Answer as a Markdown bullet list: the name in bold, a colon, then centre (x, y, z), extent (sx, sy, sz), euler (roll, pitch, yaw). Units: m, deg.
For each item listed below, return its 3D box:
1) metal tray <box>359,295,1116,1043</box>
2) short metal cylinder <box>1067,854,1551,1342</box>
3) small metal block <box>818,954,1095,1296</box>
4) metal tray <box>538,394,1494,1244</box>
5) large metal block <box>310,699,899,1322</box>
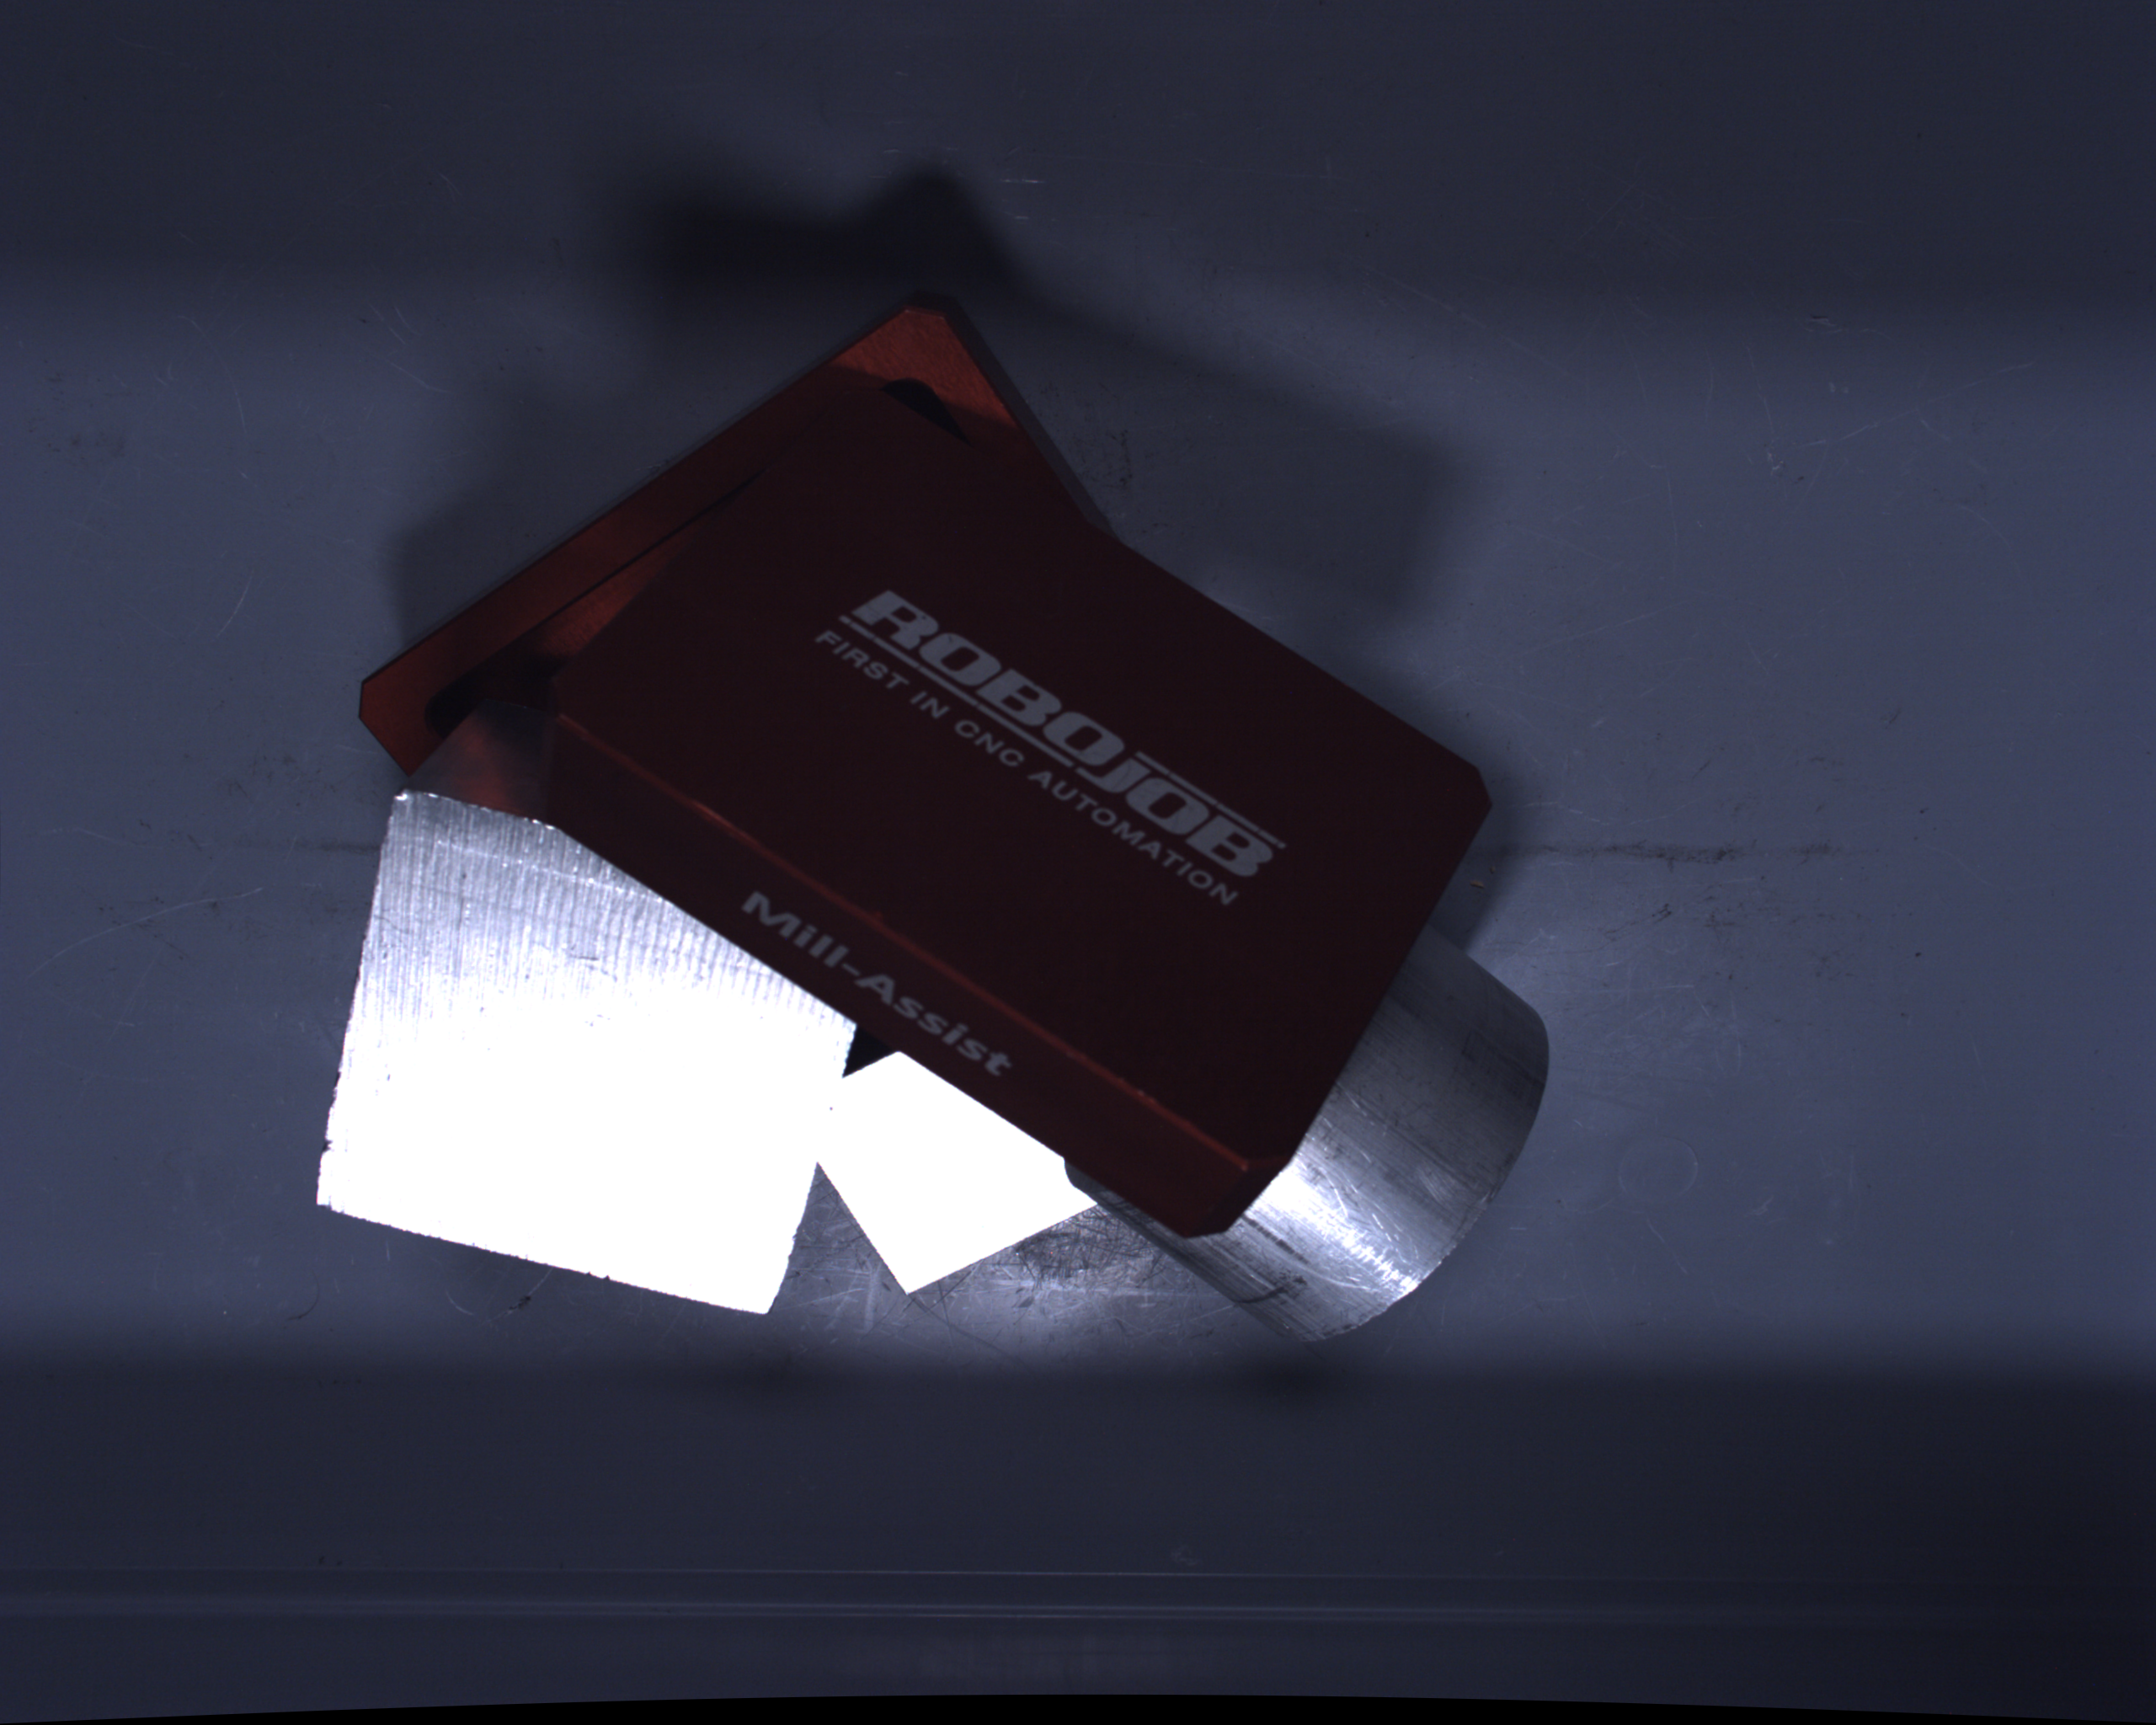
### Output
- **metal tray**: centre (-0.054, -0.034, 0.393), extent (0.130, 0.030, 0.090), euler (-32, 107, 10)
- **short metal cylinder**: centre (0.043, 0.043, 0.398), extent (0.050, 0.080, 0.080), euler (38, 106, -13)
- **small metal block**: centre (-0.025, 0.053, 0.429), extent (0.050, 0.025, 0.050), euler (-27, 108, 9)
- **metal tray**: centre (-0.008, -0.011, 0.340), extent (0.130, 0.090, 0.030), euler (33, 145, 3)
- **large metal block**: centre (-0.081, 0.025, 0.370), extent (0.080, 0.050, 0.079), euler (15, 109, -6)
